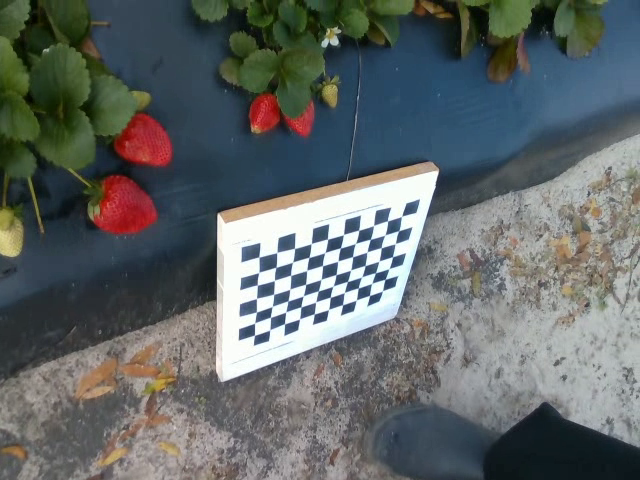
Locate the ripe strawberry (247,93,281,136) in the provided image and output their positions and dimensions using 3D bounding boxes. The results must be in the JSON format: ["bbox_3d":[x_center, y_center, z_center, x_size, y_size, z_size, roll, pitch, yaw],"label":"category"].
[{"bbox_3d":[-0.062,-0.129,0.678,0.038,0.053,0.047,20,-27,22],"label":"ripe strawberry"}]

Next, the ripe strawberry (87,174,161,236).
[{"bbox_3d":[-0.192,-0.030,0.636,0.065,0.058,0.044,23,30,-30],"label":"ripe strawberry"}]

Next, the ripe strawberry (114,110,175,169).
[{"bbox_3d":[-0.171,-0.093,0.630,0.060,0.050,0.051,35,30,0],"label":"ripe strawberry"}]

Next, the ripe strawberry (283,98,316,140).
[{"bbox_3d":[-0.020,-0.130,0.691,0.043,0.049,0.041,-19,-13,-21],"label":"ripe strawberry"}]
